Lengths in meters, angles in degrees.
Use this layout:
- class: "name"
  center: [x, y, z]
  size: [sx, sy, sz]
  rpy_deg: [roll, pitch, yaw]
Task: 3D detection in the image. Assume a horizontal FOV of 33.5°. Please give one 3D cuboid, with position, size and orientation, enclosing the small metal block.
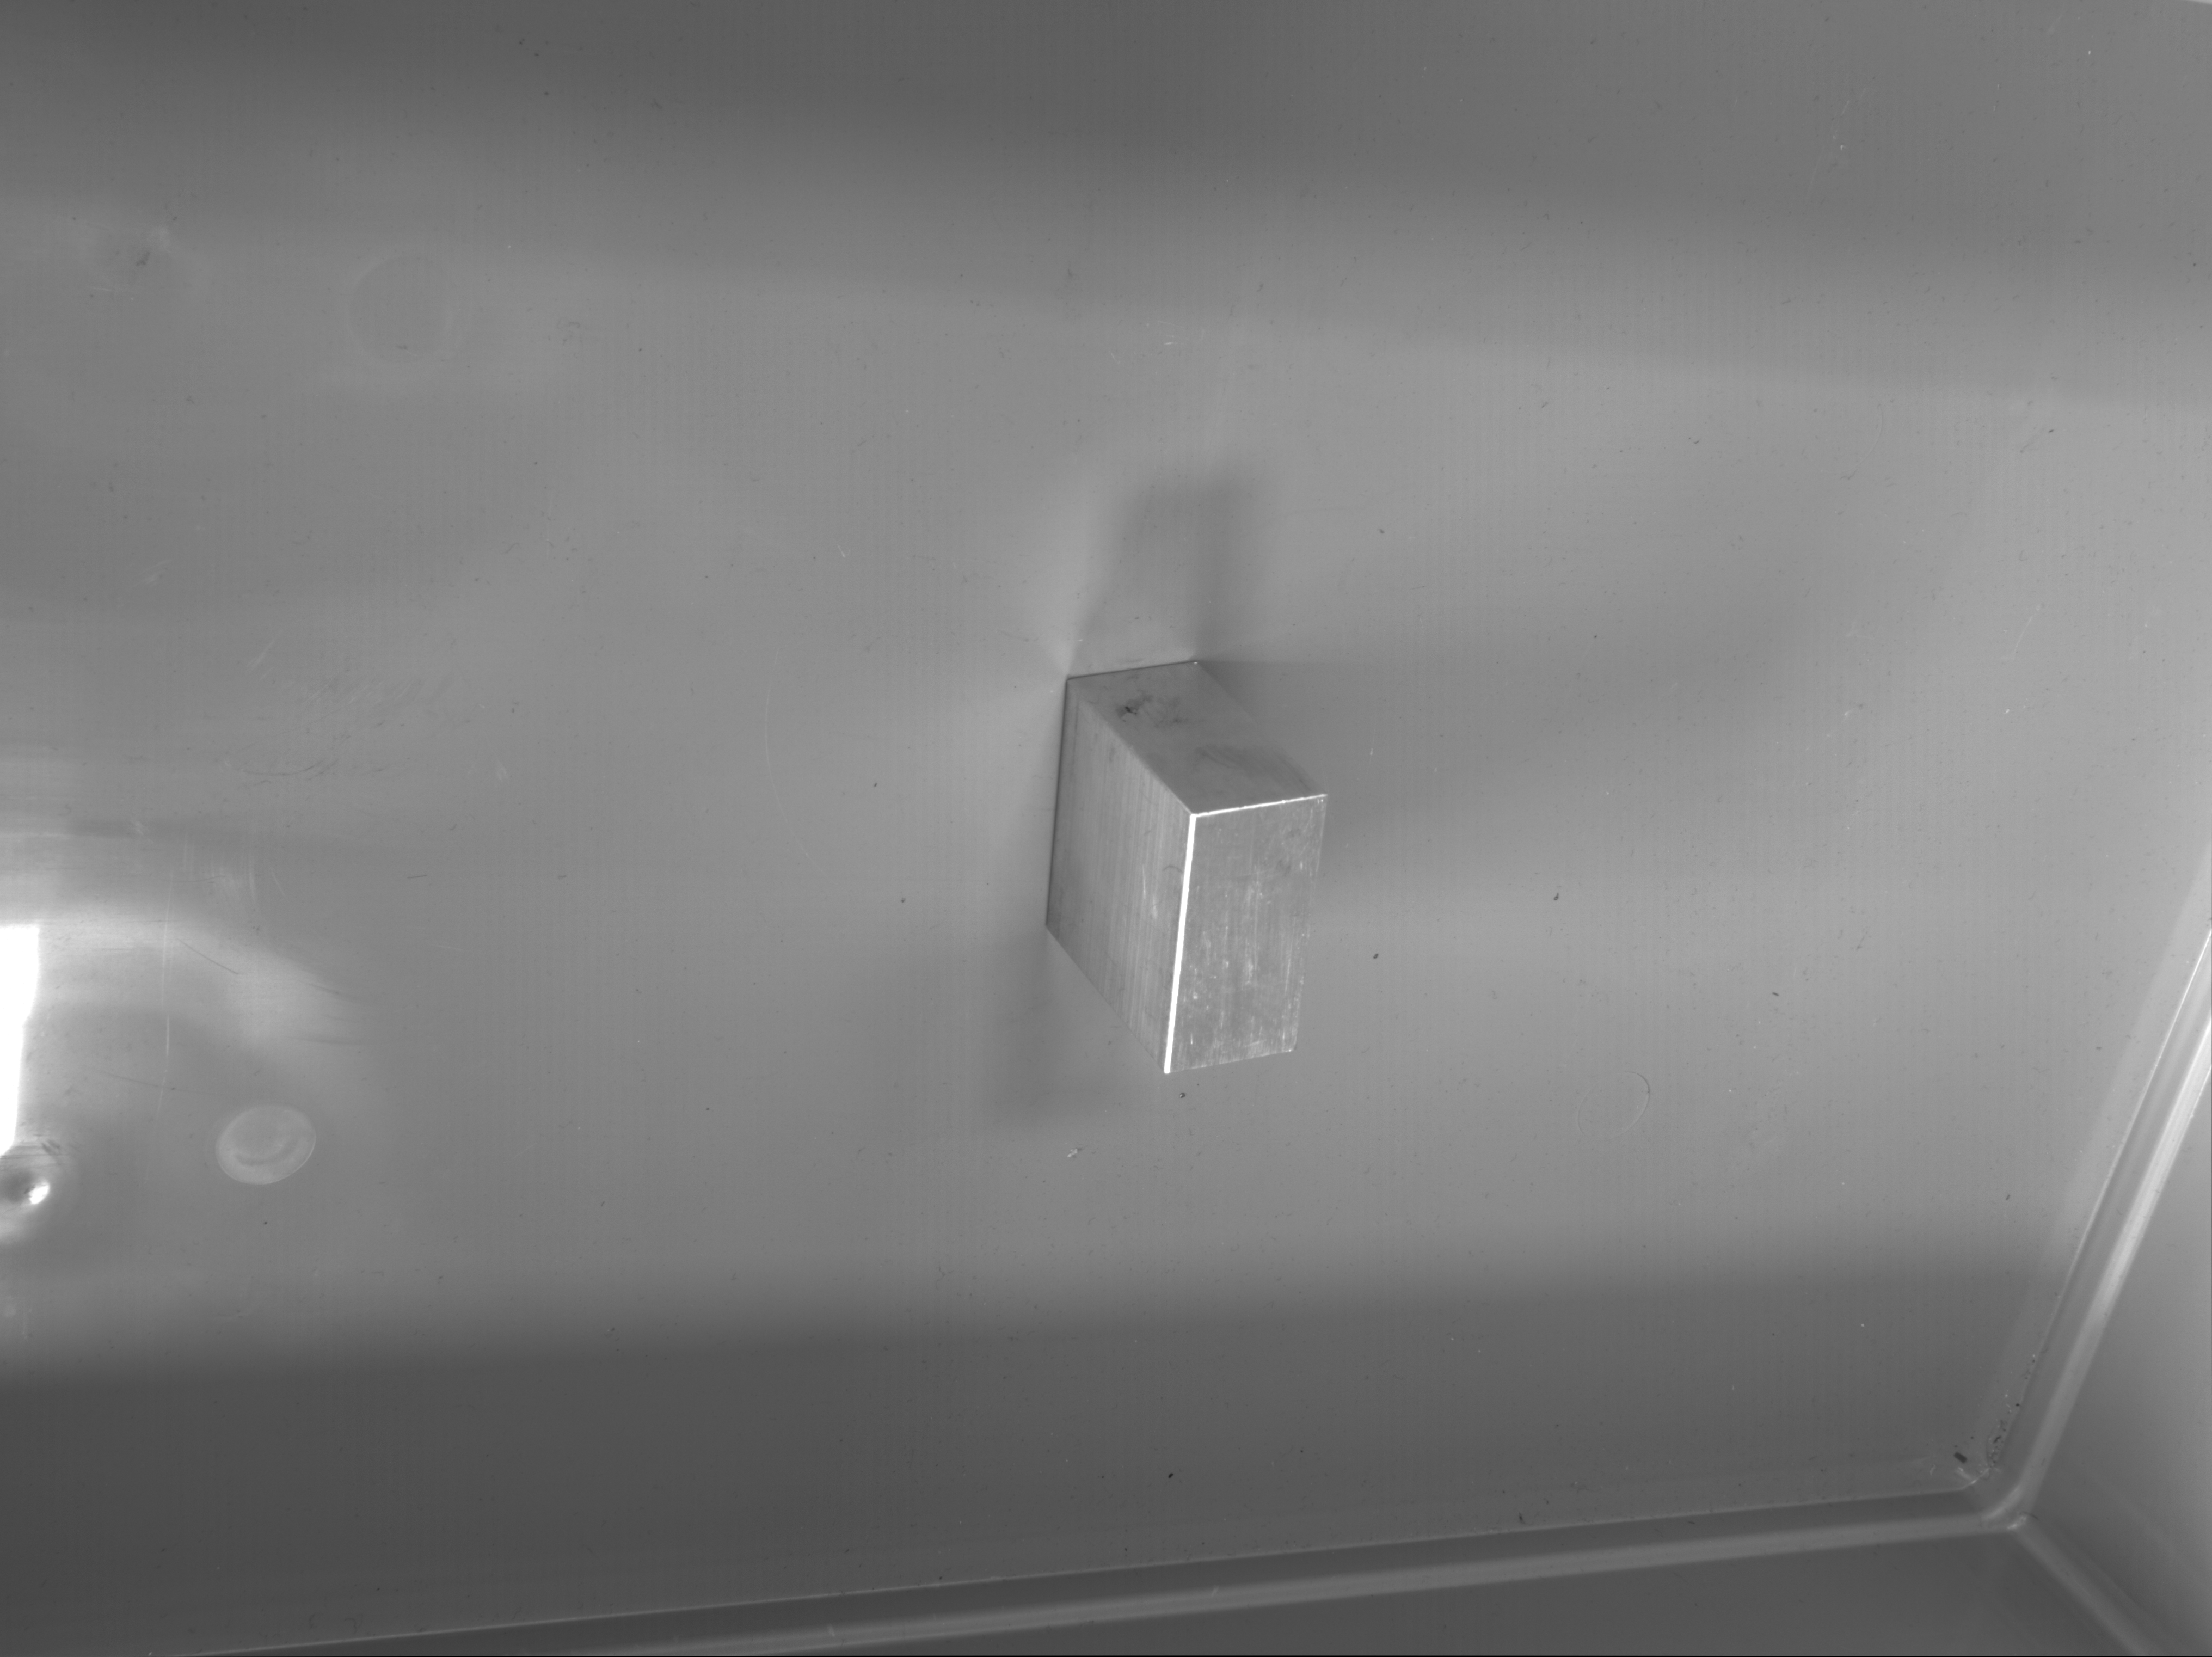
- class: "small metal block"
  center: [0.013, 0.006, 0.628]
  size: [0.025, 0.050, 0.050]
  rpy_deg: [-9, 121, -24]
